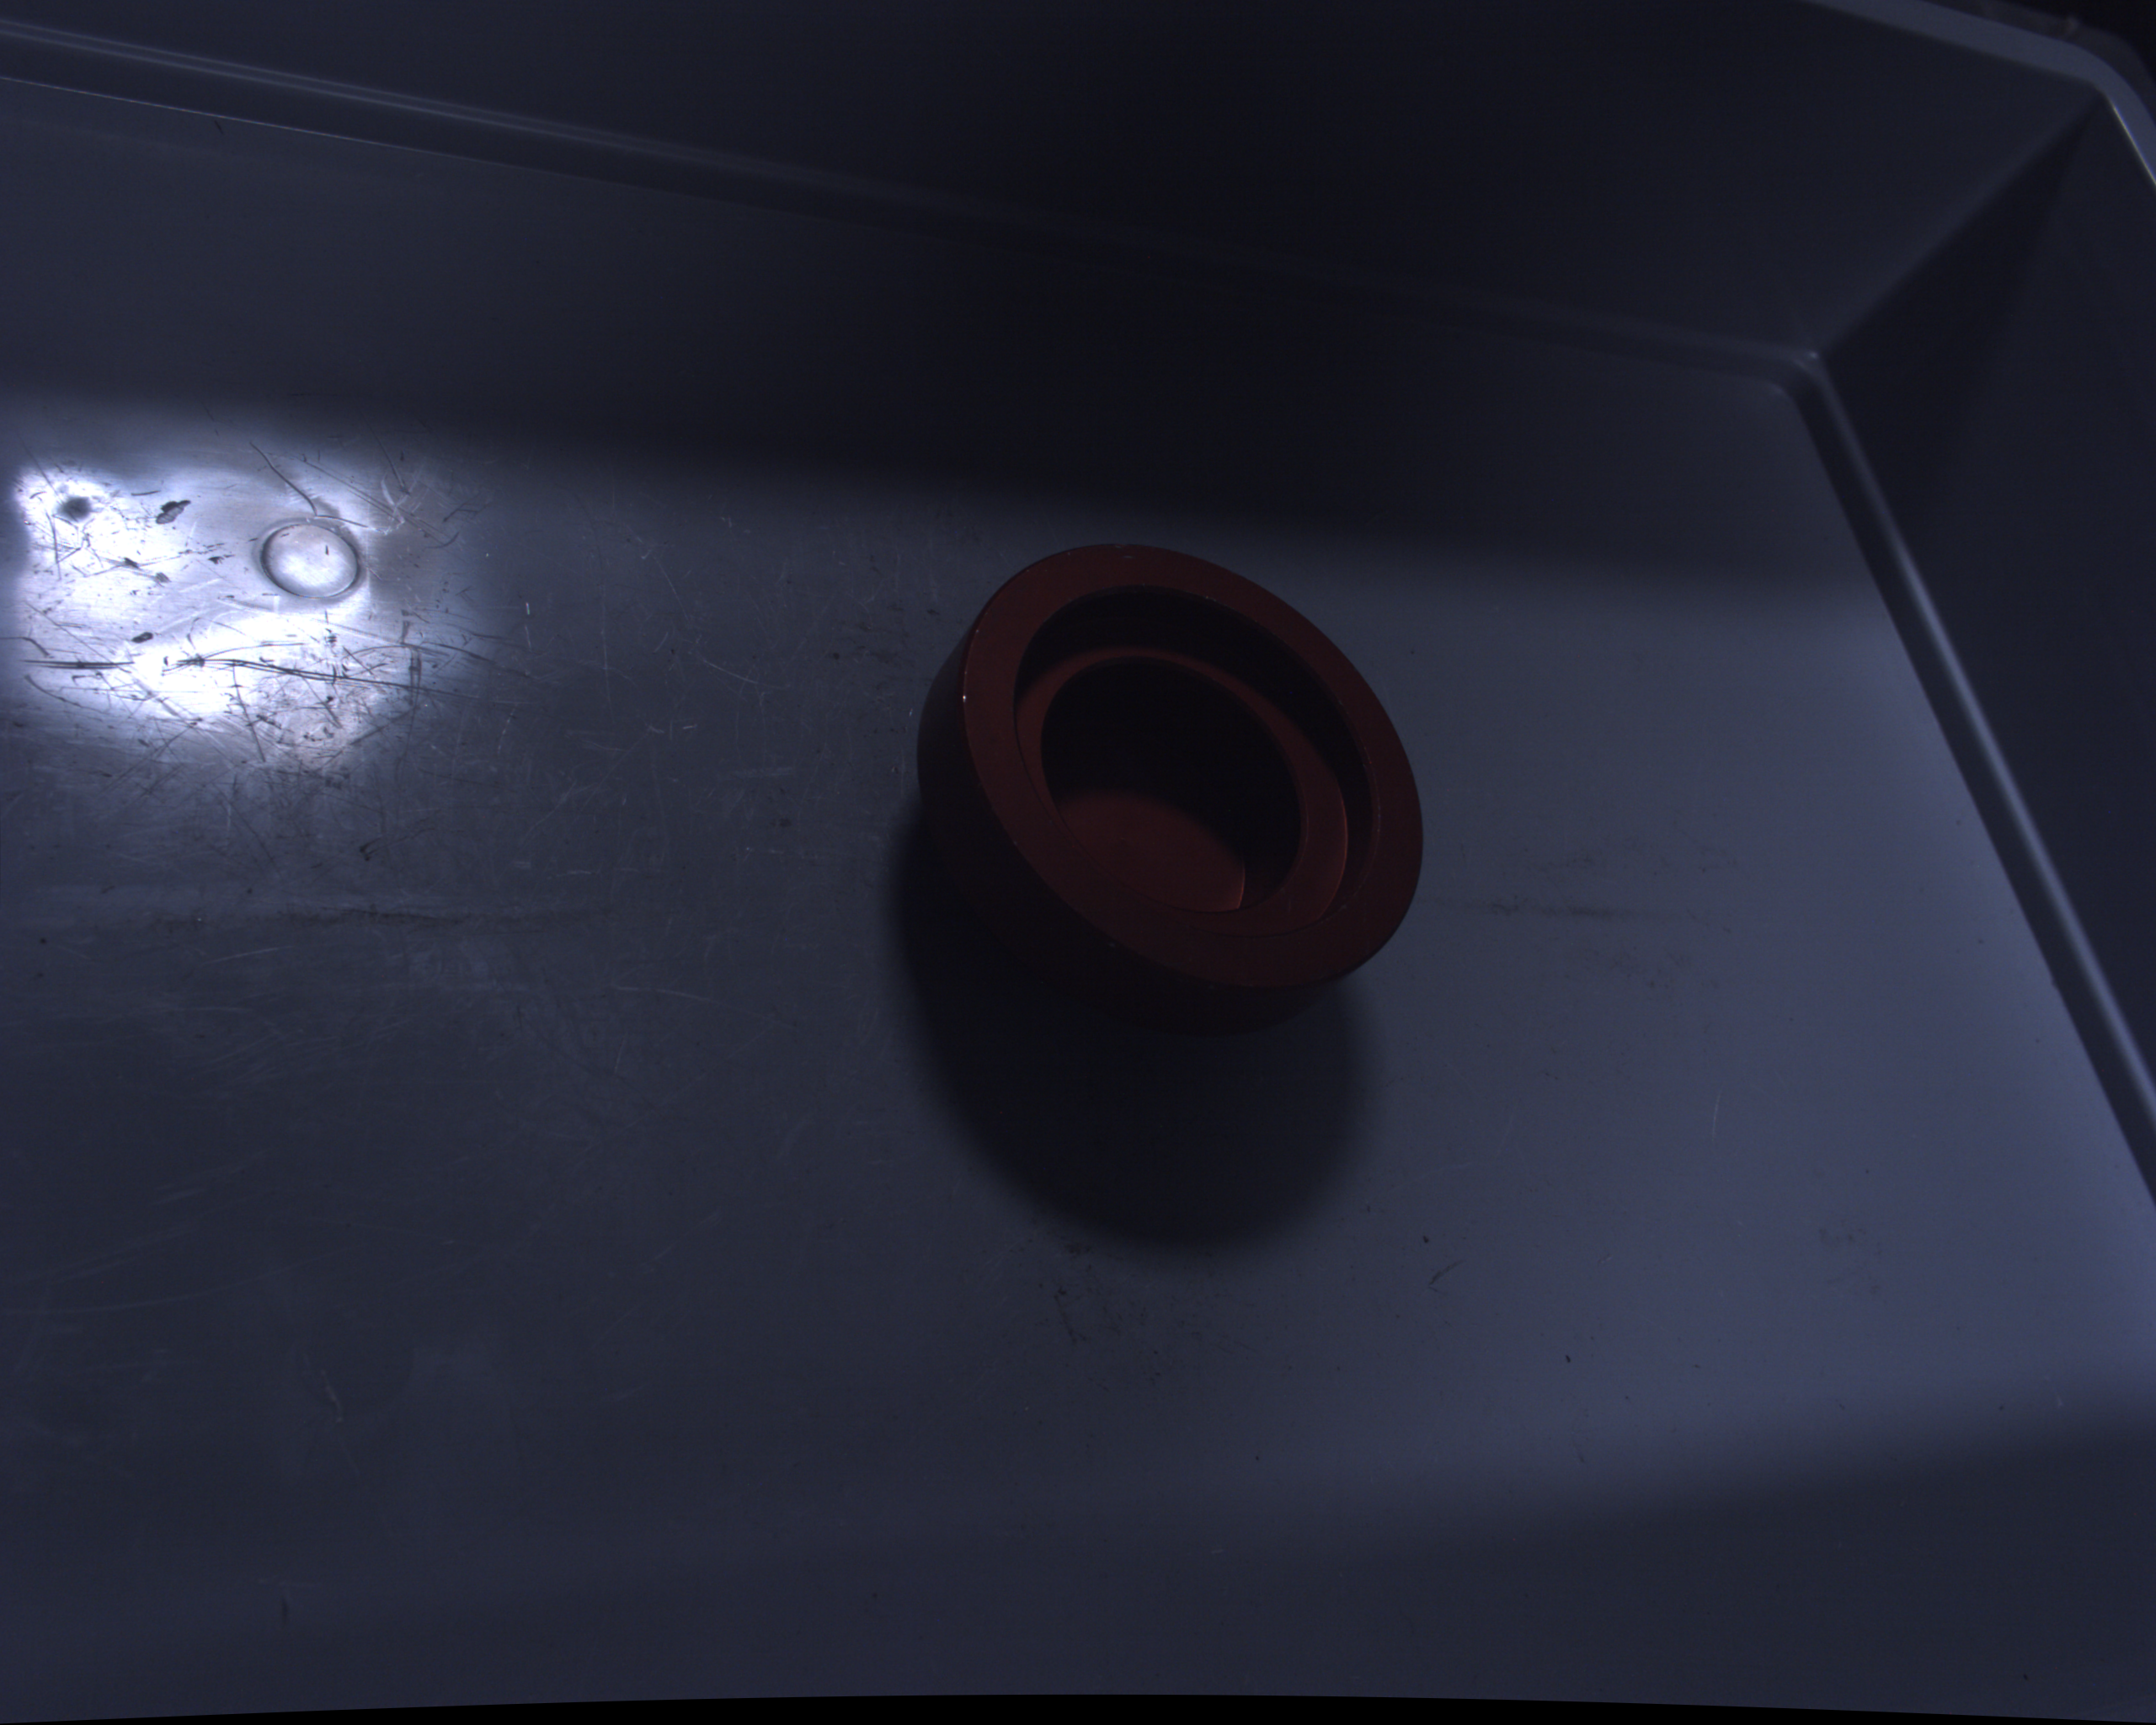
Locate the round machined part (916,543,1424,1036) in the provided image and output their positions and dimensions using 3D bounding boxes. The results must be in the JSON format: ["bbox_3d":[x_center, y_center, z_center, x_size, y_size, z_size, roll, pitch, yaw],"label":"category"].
[{"bbox_3d":[0.014,-0.010,0.406,0.099,0.042,0.098,14,56,-21],"label":"round machined part"}]
